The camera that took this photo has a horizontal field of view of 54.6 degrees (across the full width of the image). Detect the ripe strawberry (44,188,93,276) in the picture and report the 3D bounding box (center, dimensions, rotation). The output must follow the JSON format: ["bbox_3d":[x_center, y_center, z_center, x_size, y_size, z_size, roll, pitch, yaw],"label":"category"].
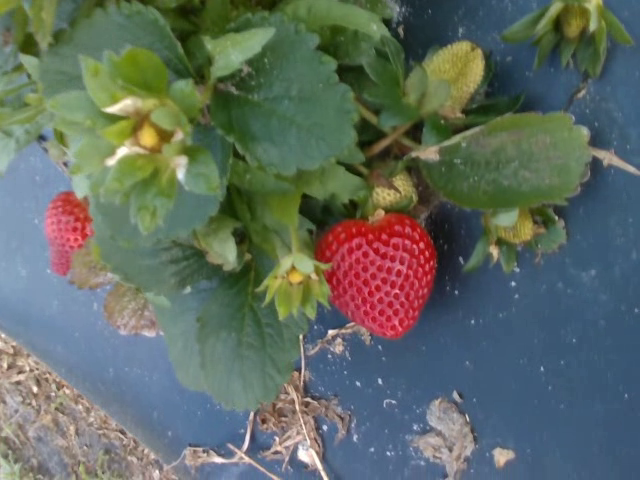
[{"bbox_3d":[-0.117,-0.004,0.305,0.043,0.050,0.043,34,23,18],"label":"ripe strawberry"}]

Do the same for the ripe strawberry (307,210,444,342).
[{"bbox_3d":[0.019,0.016,0.219,0.047,0.046,0.043,-6,-29,-29],"label":"ripe strawberry"}]
